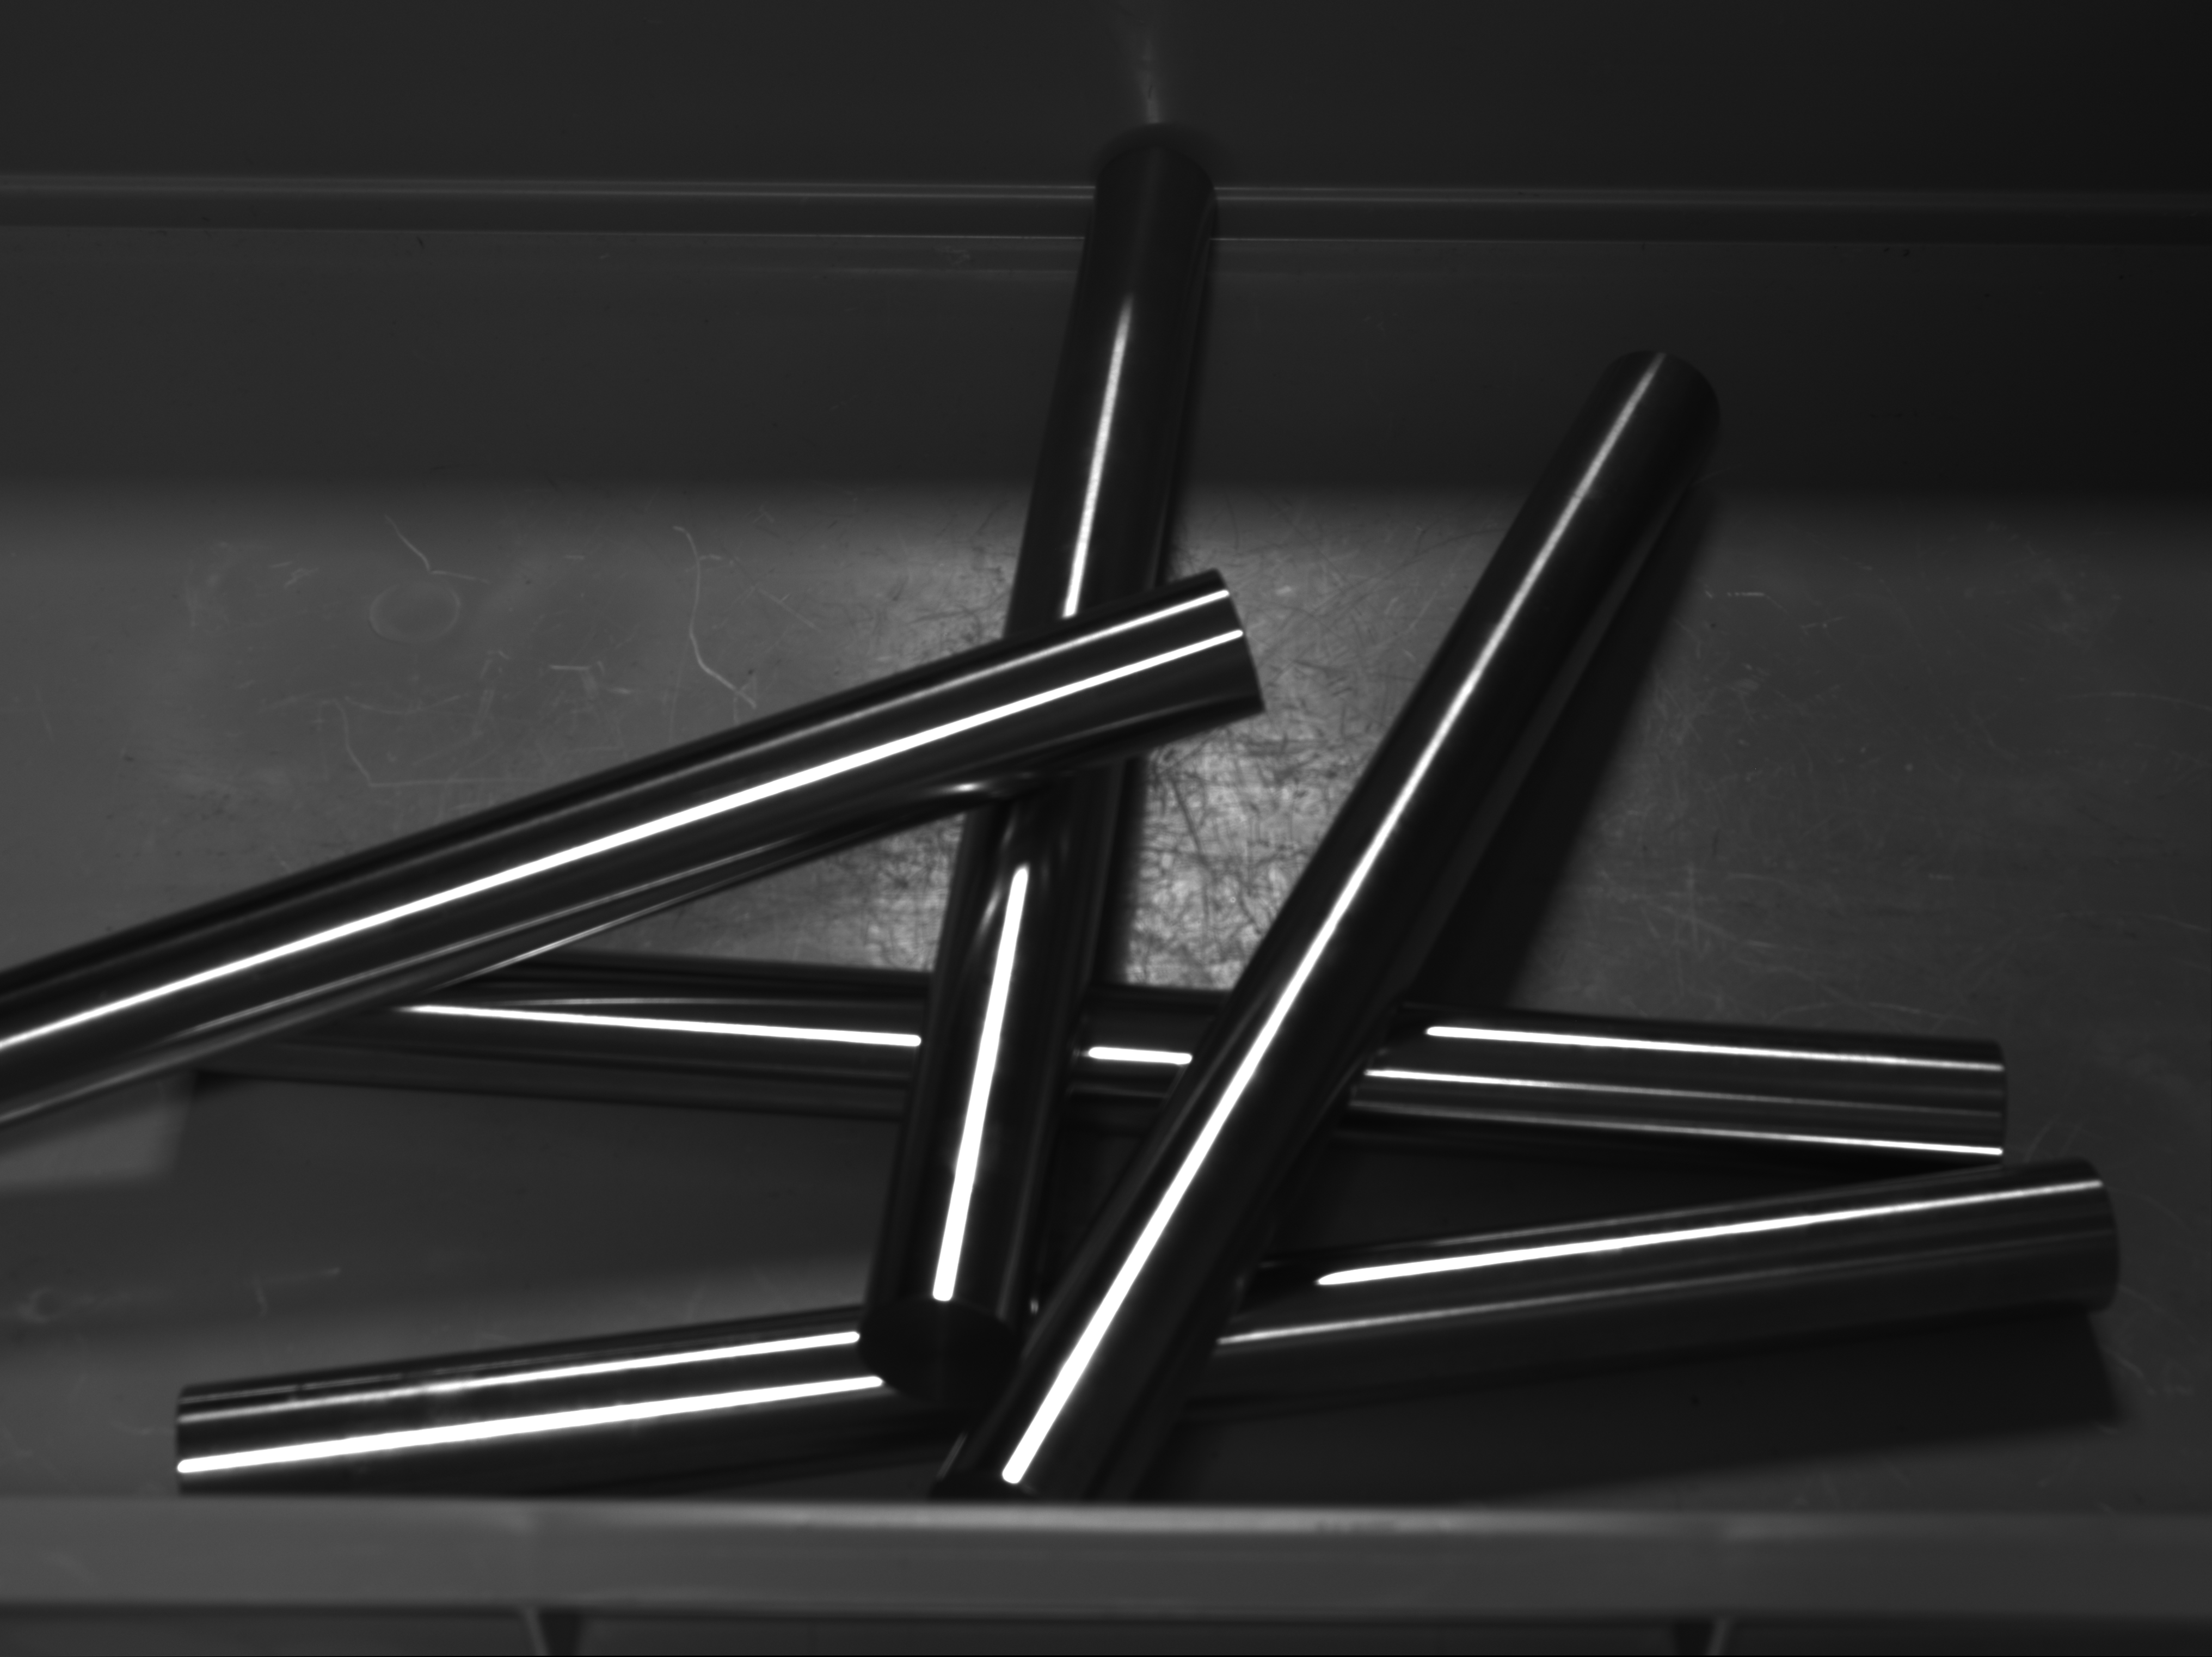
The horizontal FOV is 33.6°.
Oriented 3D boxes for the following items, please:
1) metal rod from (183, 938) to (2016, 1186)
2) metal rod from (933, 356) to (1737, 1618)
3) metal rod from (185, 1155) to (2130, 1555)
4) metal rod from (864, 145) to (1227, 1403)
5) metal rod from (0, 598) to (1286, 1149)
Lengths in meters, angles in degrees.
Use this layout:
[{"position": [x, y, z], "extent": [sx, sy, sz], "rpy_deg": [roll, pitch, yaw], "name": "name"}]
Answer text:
[{"position": [-0.003, 0.038, 0.609], "extent": [0.300, 0.025, 0.025], "rpy_deg": [4, 50, 3], "name": "metal rod"}, {"position": [0.049, 0.010, 0.607], "extent": [0.025, 0.025, 0.300], "rpy_deg": [19, 45, 15], "name": "metal rod"}, {"position": [0.011, 0.081, 0.572], "extent": [0.300, 0.025, 0.025], "rpy_deg": [-6, 50, -5], "name": "metal rod"}, {"position": [-0.005, -0.027, 0.641], "extent": [0.025, 0.025, 0.300], "rpy_deg": [5, 44, 4], "name": "metal rod"}, {"position": [-0.116, 0.019, 0.592], "extent": [0.300, 0.025, 0.025], "rpy_deg": [-18, 52, -7], "name": "metal rod"}]
